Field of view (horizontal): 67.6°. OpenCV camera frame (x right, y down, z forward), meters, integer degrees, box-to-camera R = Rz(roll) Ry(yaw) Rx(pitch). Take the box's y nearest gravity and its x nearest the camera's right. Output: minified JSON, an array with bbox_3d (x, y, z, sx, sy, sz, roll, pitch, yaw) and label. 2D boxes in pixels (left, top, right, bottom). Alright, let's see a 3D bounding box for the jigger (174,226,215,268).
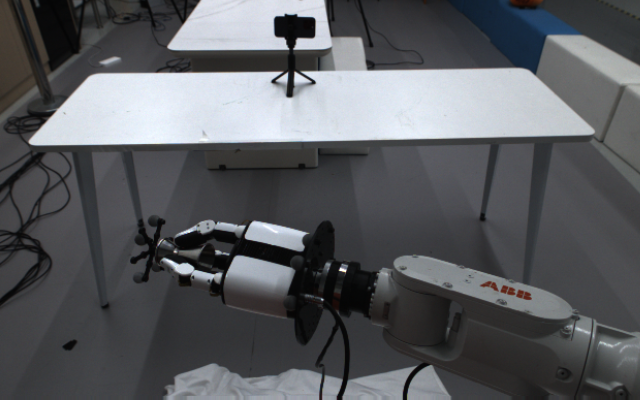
[{"bbox_3d":[-0.177,0.073,0.658,0.071,0.043,0.043,7,35,16],"label":"jigger"}]
